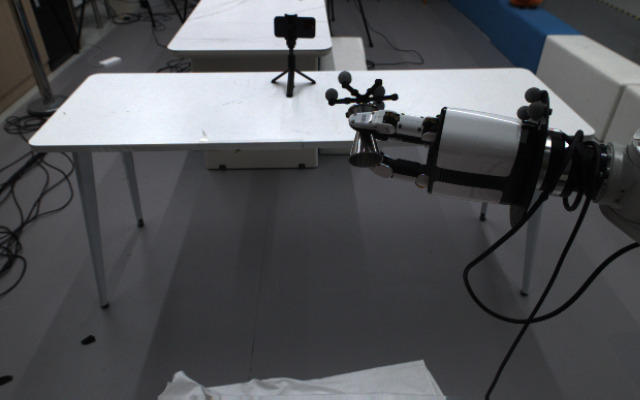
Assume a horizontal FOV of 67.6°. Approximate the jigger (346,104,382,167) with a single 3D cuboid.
[{"bbox_3d":[0.055,-0.082,0.596,0.043,0.043,0.071,1,70,-2],"label":"jigger"}]
